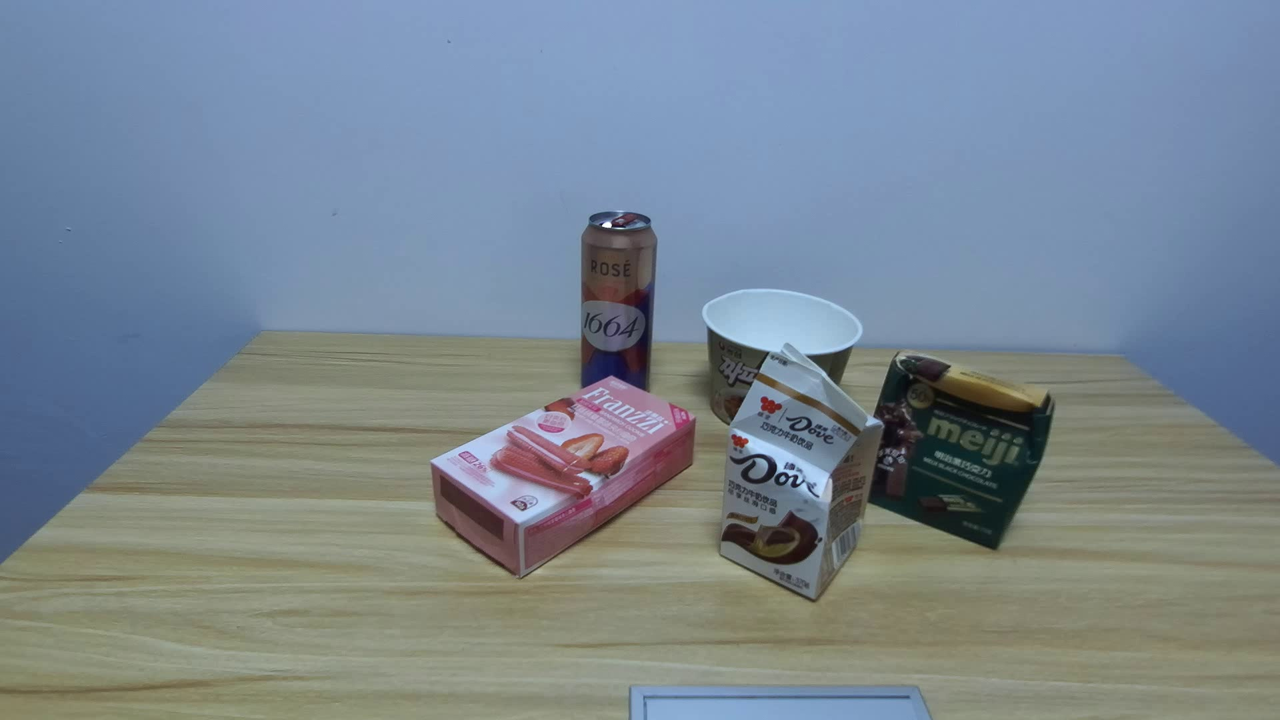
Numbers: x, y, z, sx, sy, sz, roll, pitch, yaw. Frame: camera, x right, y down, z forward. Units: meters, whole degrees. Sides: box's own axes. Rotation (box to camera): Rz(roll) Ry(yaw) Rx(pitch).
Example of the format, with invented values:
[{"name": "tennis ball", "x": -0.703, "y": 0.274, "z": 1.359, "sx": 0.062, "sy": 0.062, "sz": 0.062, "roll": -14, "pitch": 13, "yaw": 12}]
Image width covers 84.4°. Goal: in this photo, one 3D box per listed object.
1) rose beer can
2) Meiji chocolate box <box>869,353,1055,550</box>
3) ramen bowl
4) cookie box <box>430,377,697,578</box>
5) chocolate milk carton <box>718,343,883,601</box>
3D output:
[{"name": "rose beer can", "x": -0.020, "y": -0.045, "z": 0.646, "sx": 0.068, "sy": 0.169, "sz": 0.068, "roll": 3, "pitch": 27, "yaw": -1}, {"name": "Meiji chocolate box", "x": 0.230, "y": 0.062, "z": 0.521, "sx": 0.117, "sy": 0.117, "sz": 0.052, "roll": 19, "pitch": 24, "yaw": 28}, {"name": "ramen bowl", "x": 0.123, "y": 0.004, "z": 0.645, "sx": 0.140, "sy": 0.095, "sz": 0.140, "roll": 3, "pitch": 28, "yaw": -1}, {"name": "cookie box", "x": -0.049, "y": 0.079, "z": 0.531, "sx": 0.104, "sy": 0.049, "sz": 0.188, "roll": 23, "pitch": 34, "yaw": 36}, {"name": "chocolate milk carton", "x": 0.104, "y": 0.064, "z": 0.451, "sx": 0.076, "sy": 0.155, "sz": 0.074, "roll": 21, "pitch": 34, "yaw": 30}]
